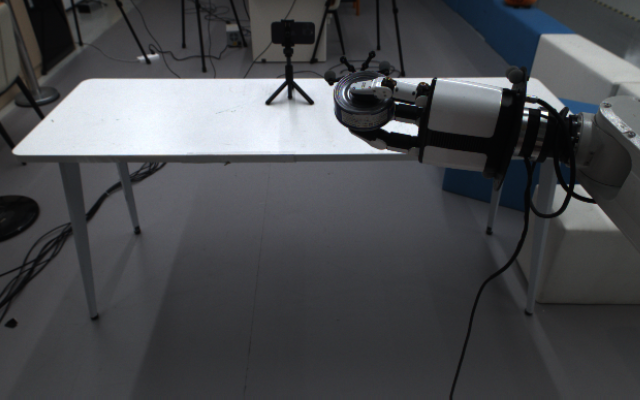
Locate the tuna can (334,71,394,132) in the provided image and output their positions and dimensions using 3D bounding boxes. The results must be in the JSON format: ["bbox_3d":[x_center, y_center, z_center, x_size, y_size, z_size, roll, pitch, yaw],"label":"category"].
[{"bbox_3d":[0.066,-0.132,0.666,0.085,0.034,0.085,-3,59,5],"label":"tuna can"}]
